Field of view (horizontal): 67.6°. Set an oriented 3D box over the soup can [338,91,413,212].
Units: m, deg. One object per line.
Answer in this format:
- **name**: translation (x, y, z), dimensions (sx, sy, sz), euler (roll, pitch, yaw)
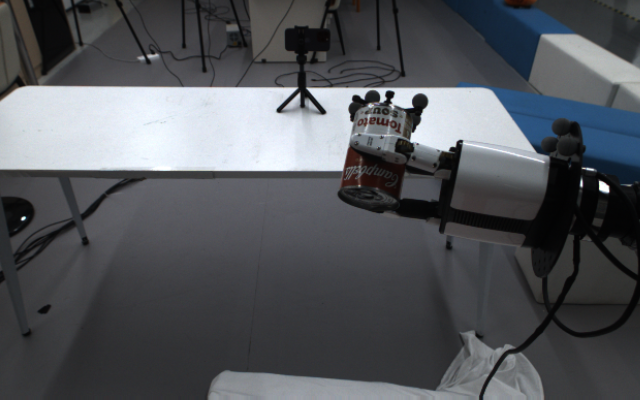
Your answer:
- **soup can**: translation (0.063, -0.049, 0.533), dimensions (0.067, 0.067, 0.101), euler (9, 72, 10)
